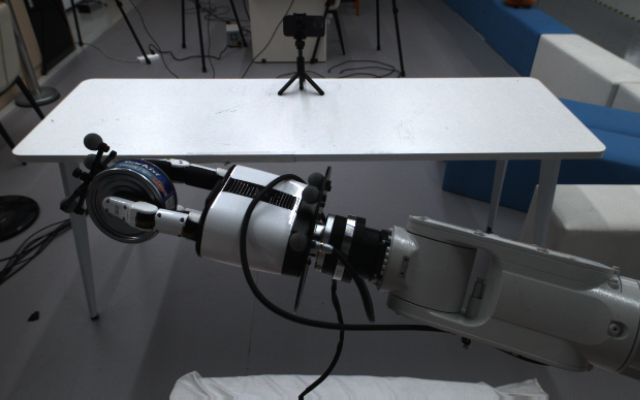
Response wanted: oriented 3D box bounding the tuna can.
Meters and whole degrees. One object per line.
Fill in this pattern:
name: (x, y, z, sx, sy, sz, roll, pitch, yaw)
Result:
tuna can: (-0.193, 0.006, 0.505, 0.085, 0.085, 0.034, 4, 21, 2)
